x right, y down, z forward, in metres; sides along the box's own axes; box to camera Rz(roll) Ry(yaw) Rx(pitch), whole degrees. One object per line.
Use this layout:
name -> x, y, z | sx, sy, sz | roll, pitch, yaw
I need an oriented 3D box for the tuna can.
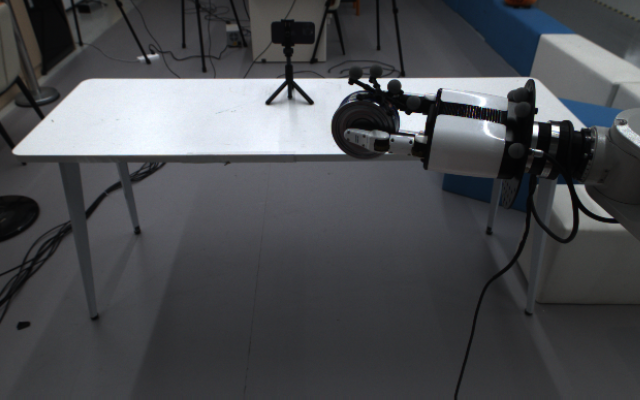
tuna can -> 0.062, -0.090, 0.627 | 0.085, 0.085, 0.034 | 12, 35, 14
